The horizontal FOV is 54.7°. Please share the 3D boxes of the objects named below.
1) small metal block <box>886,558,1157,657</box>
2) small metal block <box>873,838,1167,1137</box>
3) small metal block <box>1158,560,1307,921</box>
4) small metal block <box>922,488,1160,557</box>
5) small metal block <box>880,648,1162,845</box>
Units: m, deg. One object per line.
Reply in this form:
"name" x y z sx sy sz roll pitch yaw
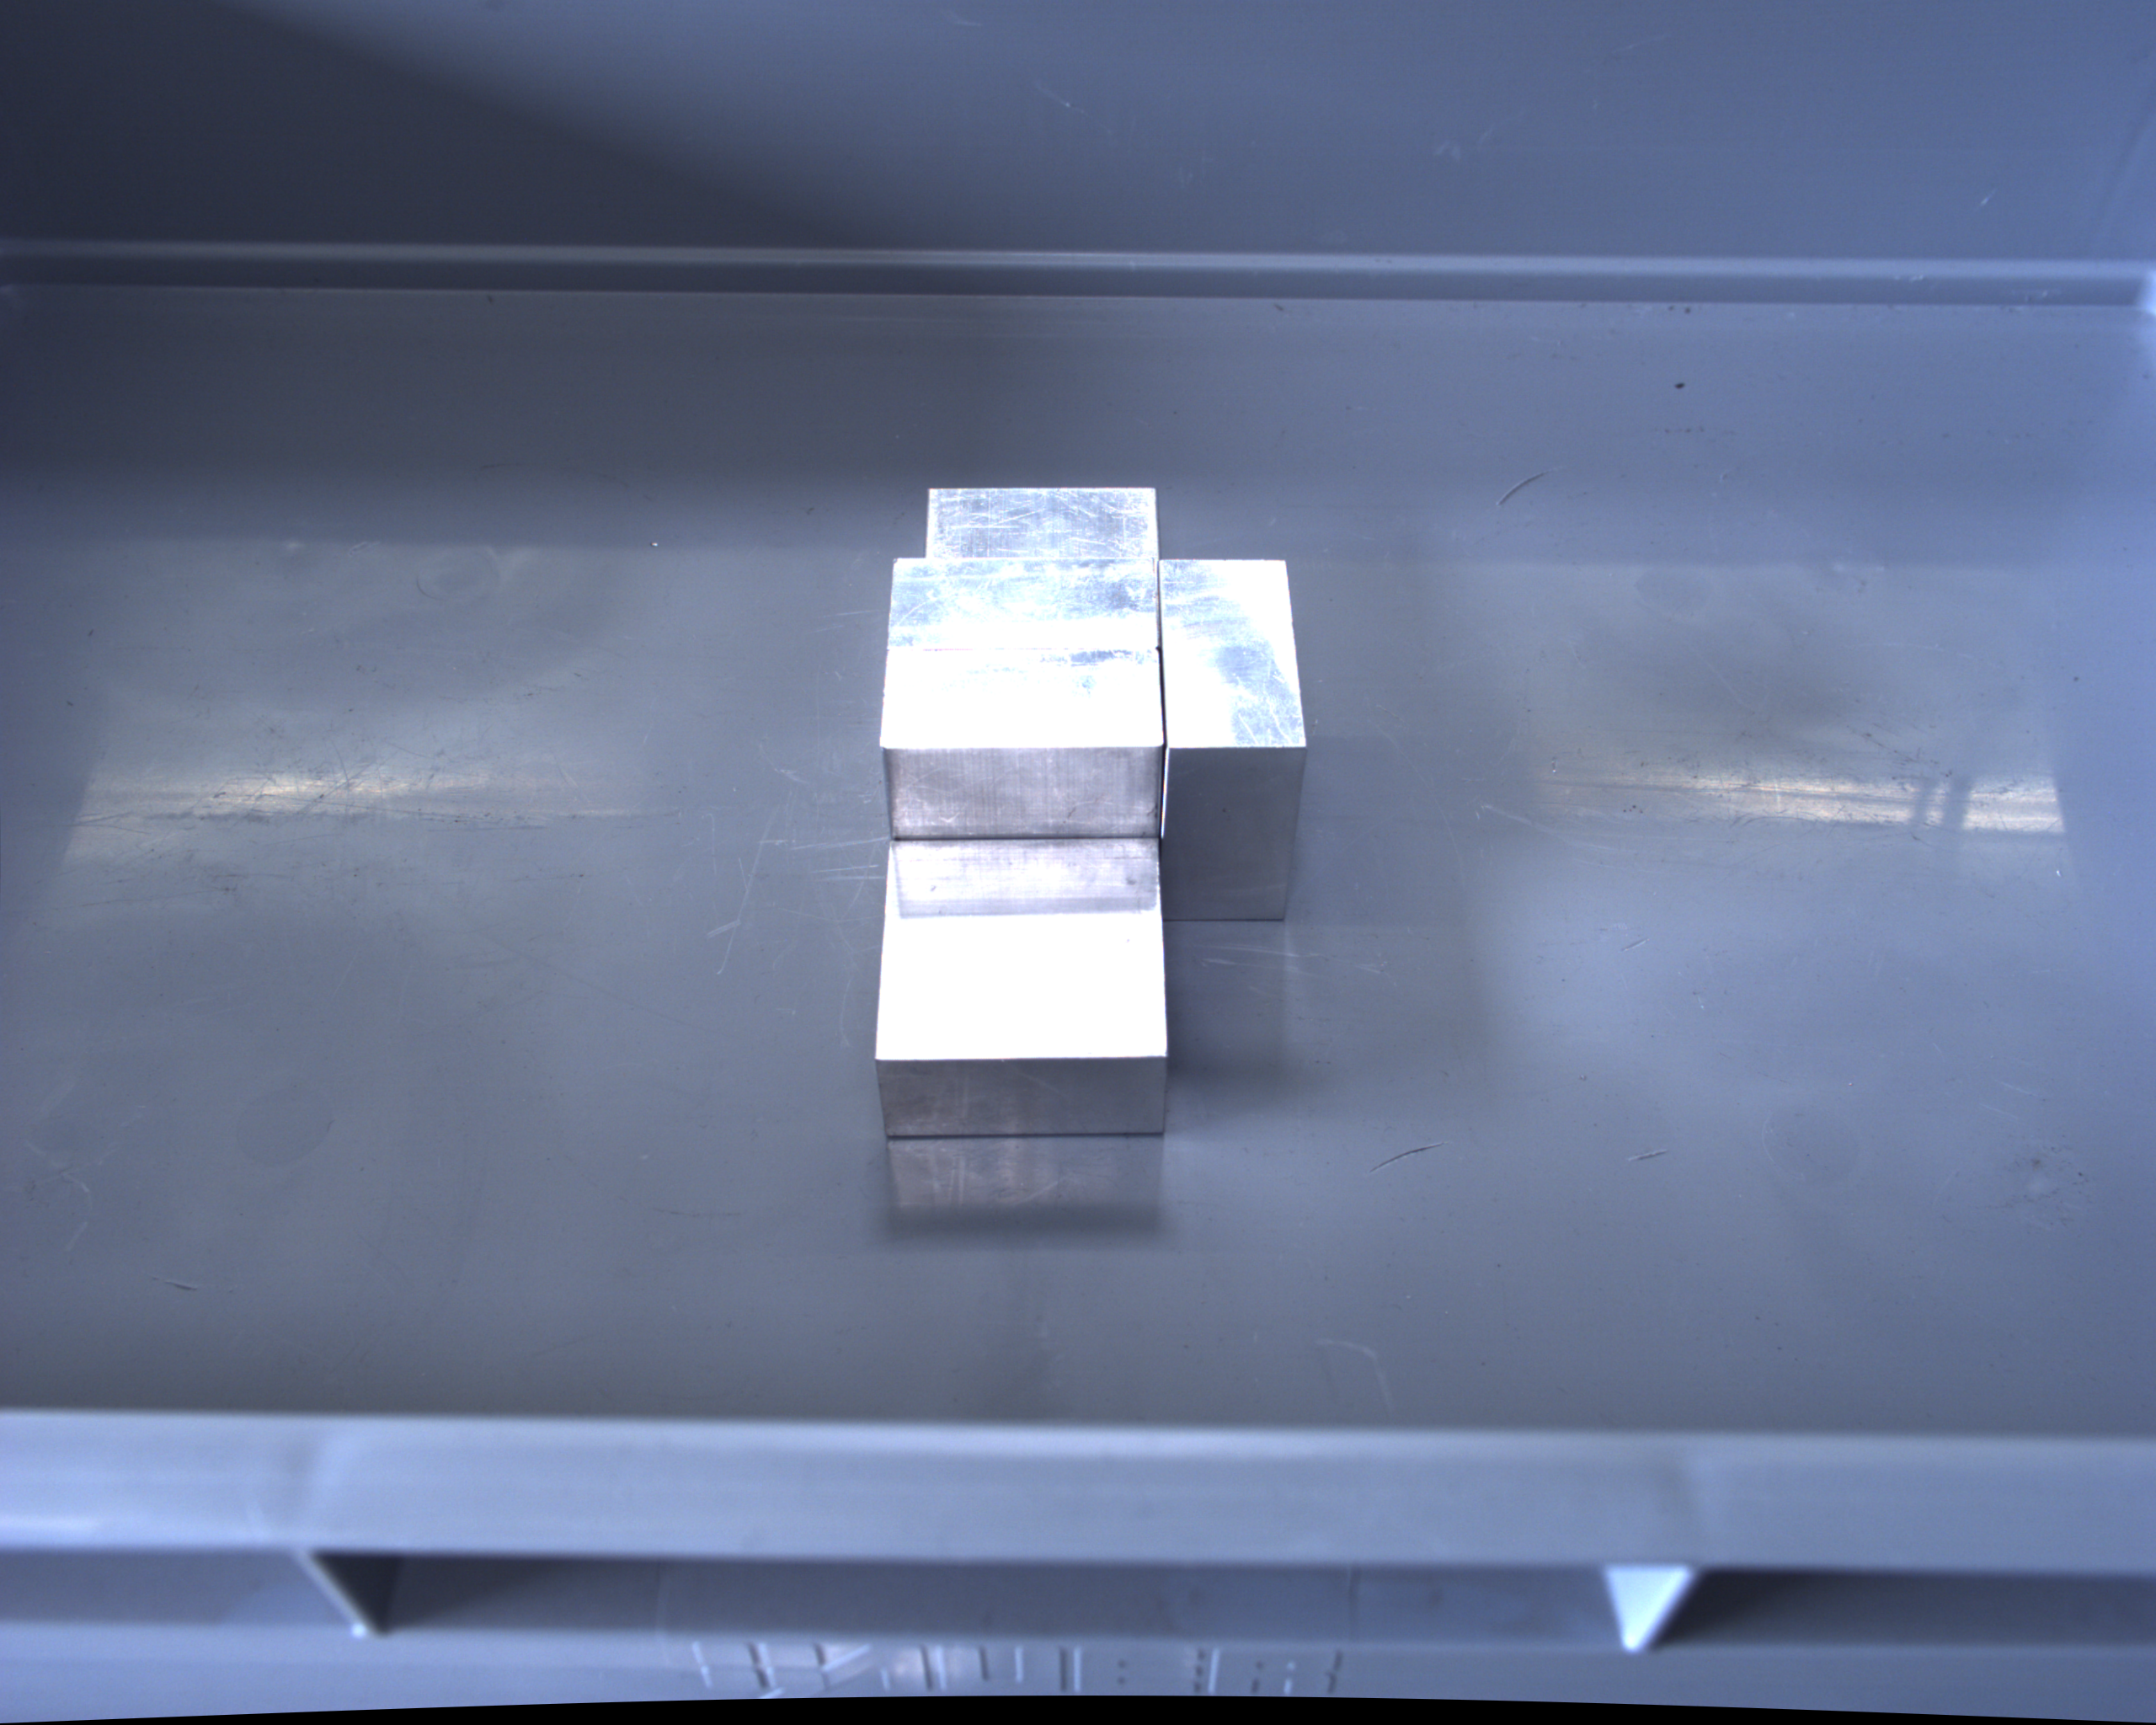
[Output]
"small metal block" -0.010 -0.033 0.414 0.050 0.050 0.025 0 50 0
"small metal block" -0.010 0.023 0.384 0.050 0.025 0.050 0 50 0
"small metal block" 0.028 -0.024 0.406 0.025 0.050 0.050 0 50 0
"small metal block" -0.008 -0.055 0.448 0.050 0.025 0.050 0 50 0
"small metal block" -0.010 -0.014 0.398 0.050 0.050 0.025 0 50 0
